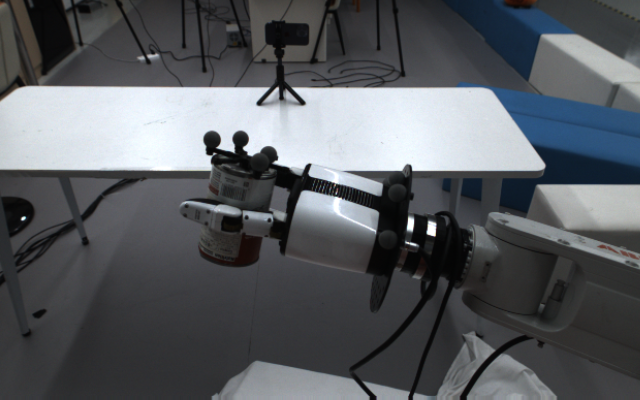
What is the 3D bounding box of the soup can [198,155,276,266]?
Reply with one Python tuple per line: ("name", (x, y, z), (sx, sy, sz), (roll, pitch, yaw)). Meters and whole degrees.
("soup can", (-0.085, 0.011, 0.510), (0.067, 0.101, 0.067), (13, 18, -4))
